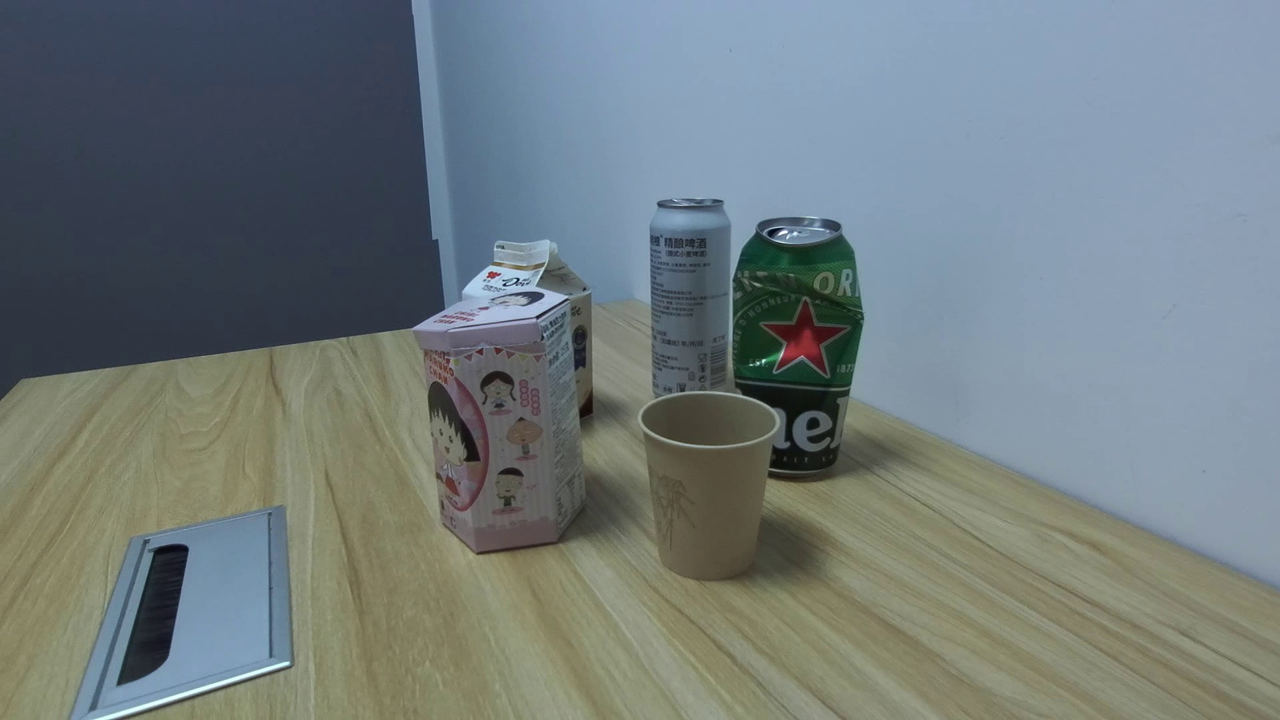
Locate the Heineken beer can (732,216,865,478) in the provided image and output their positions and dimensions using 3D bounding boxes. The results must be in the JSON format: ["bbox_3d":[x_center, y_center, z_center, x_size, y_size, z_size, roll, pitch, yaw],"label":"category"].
[{"bbox_3d":[0.101,-0.006,0.467,0.069,0.168,0.068,-15,26,-29],"label":"Heineken beer can"}]

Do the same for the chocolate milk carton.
[{"bbox_3d":[-0.087,-0.022,0.559,0.075,0.148,0.074,15,26,38],"label":"chocolate milk carton"}]

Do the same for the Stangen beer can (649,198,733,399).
[{"bbox_3d":[0.042,-0.047,0.591,0.067,0.171,0.067,-1,17,1],"label":"Stangen beer can"}]

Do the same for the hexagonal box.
[{"bbox_3d":[-0.078,0.032,0.417,0.085,0.135,0.091,-16,23,-37],"label":"hexagonal box"}]
